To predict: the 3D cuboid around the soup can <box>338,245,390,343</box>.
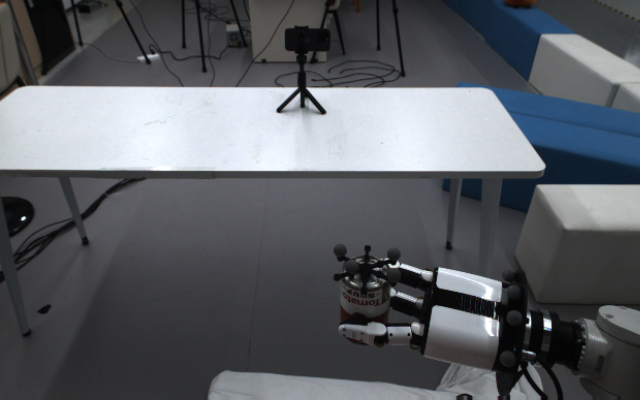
[{"bbox_3d":[0.063,0.131,0.644,0.067,0.101,0.067,-2,34,1],"label":"soup can"}]
